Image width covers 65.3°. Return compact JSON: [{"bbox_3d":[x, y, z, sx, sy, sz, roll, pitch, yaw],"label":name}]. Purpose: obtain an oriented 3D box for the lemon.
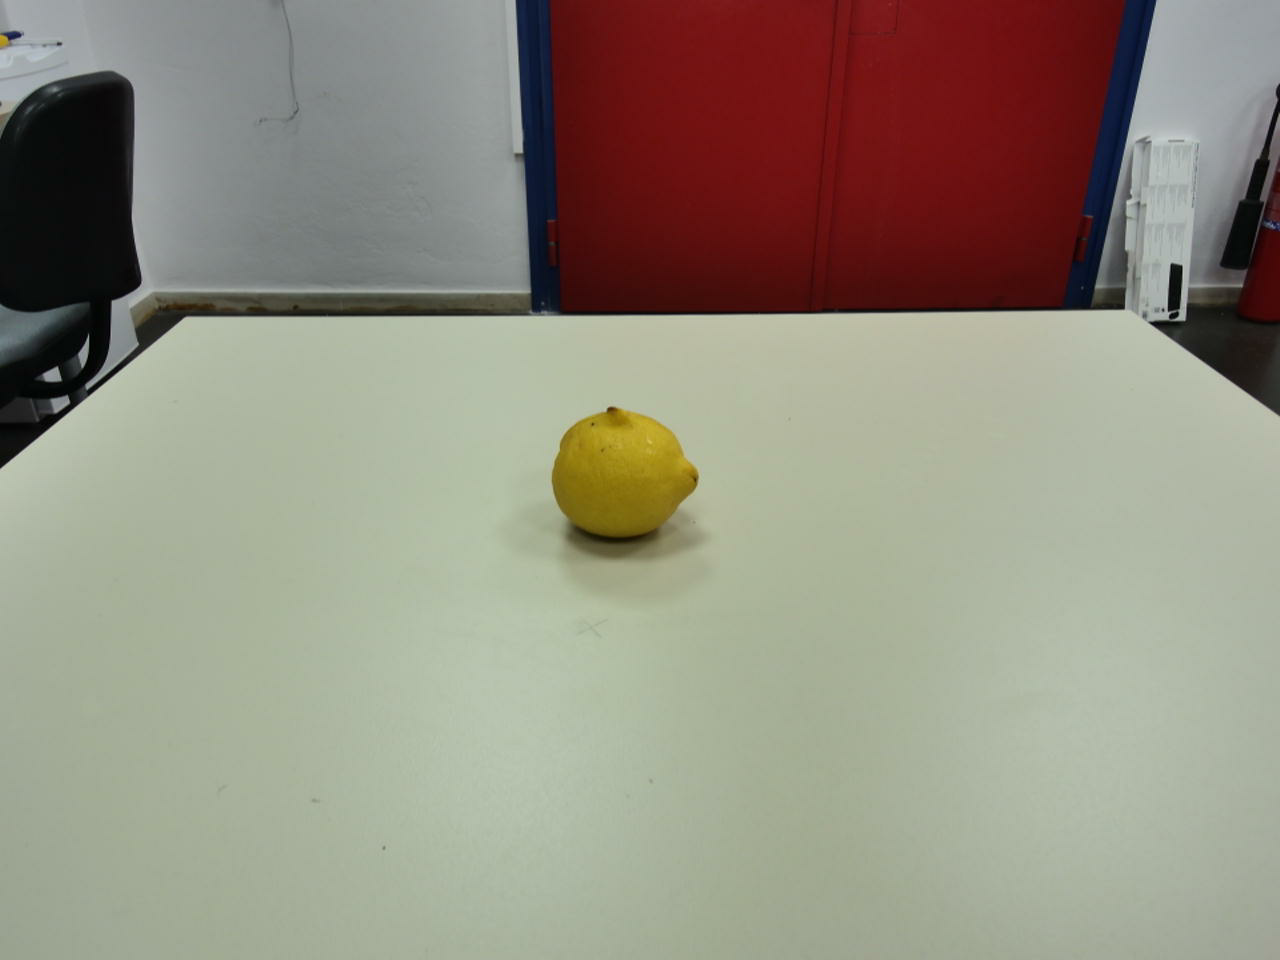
[{"bbox_3d":[-0.011,-0.006,0.529,0.070,0.071,0.071,-18,30,-30],"label":"lemon"}]
